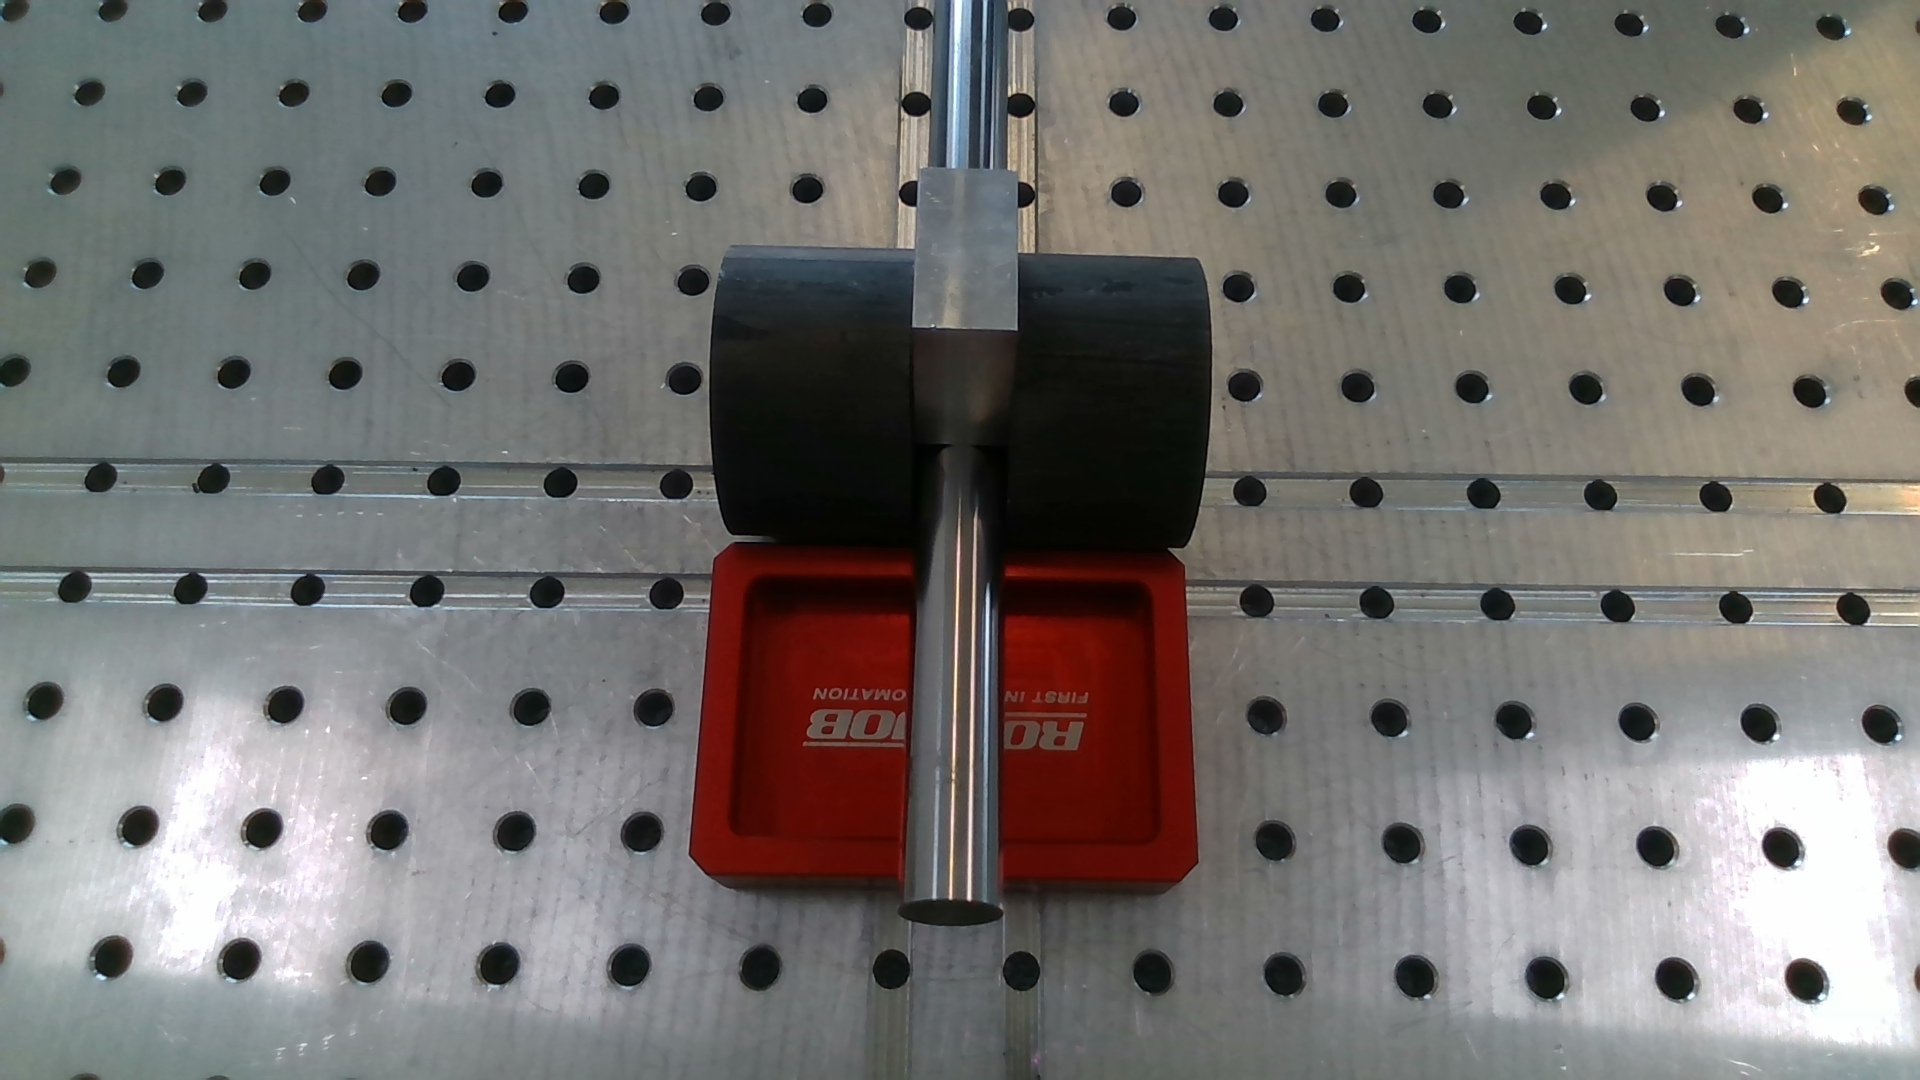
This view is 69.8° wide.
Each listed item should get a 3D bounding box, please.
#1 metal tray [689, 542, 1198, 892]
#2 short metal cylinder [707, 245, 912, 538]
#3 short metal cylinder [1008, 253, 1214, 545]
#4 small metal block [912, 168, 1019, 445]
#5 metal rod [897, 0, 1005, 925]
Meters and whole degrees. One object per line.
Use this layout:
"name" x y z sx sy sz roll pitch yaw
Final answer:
"metal tray" -0.003 0.049 0.378 0.130 0.030 0.090 1 70 0
"short metal cylinder" -0.038 -0.041 0.383 0.050 0.080 0.080 1 70 0
"short metal cylinder" 0.038 -0.039 0.381 0.050 0.080 0.080 1 70 0
"small metal block" 0.002 -0.059 0.355 0.025 0.050 0.050 1 62 0
"metal rod" 0.000 -0.045 0.390 0.025 0.025 0.299 1 61 0
